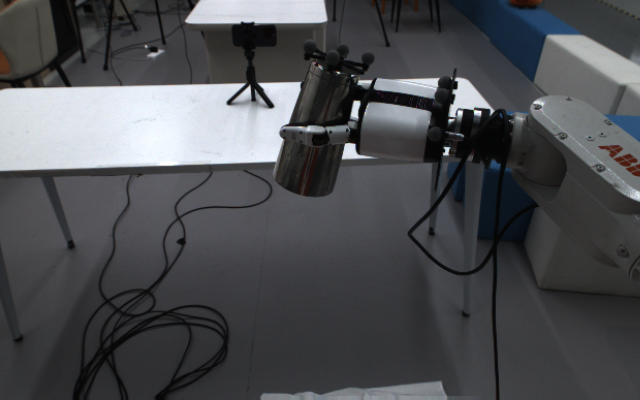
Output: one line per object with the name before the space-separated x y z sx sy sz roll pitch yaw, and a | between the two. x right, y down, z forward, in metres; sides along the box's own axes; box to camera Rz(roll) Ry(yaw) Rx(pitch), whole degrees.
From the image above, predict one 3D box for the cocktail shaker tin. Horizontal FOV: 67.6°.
cocktail shaker tin | 0.000 -0.103 0.662 0.093 0.170 0.093 12 29 -7
